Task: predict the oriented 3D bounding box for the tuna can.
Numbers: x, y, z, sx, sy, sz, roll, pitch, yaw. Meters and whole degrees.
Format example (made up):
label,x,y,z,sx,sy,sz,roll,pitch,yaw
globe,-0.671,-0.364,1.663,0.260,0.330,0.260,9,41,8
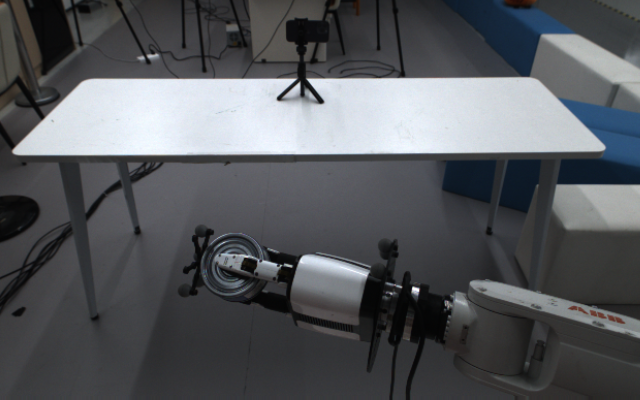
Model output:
label,x,y,z,sx,sy,sz,roll,pitch,yaw
tuna can,-0.105,0.085,0.618,0.085,0.034,0.085,-3,69,6
